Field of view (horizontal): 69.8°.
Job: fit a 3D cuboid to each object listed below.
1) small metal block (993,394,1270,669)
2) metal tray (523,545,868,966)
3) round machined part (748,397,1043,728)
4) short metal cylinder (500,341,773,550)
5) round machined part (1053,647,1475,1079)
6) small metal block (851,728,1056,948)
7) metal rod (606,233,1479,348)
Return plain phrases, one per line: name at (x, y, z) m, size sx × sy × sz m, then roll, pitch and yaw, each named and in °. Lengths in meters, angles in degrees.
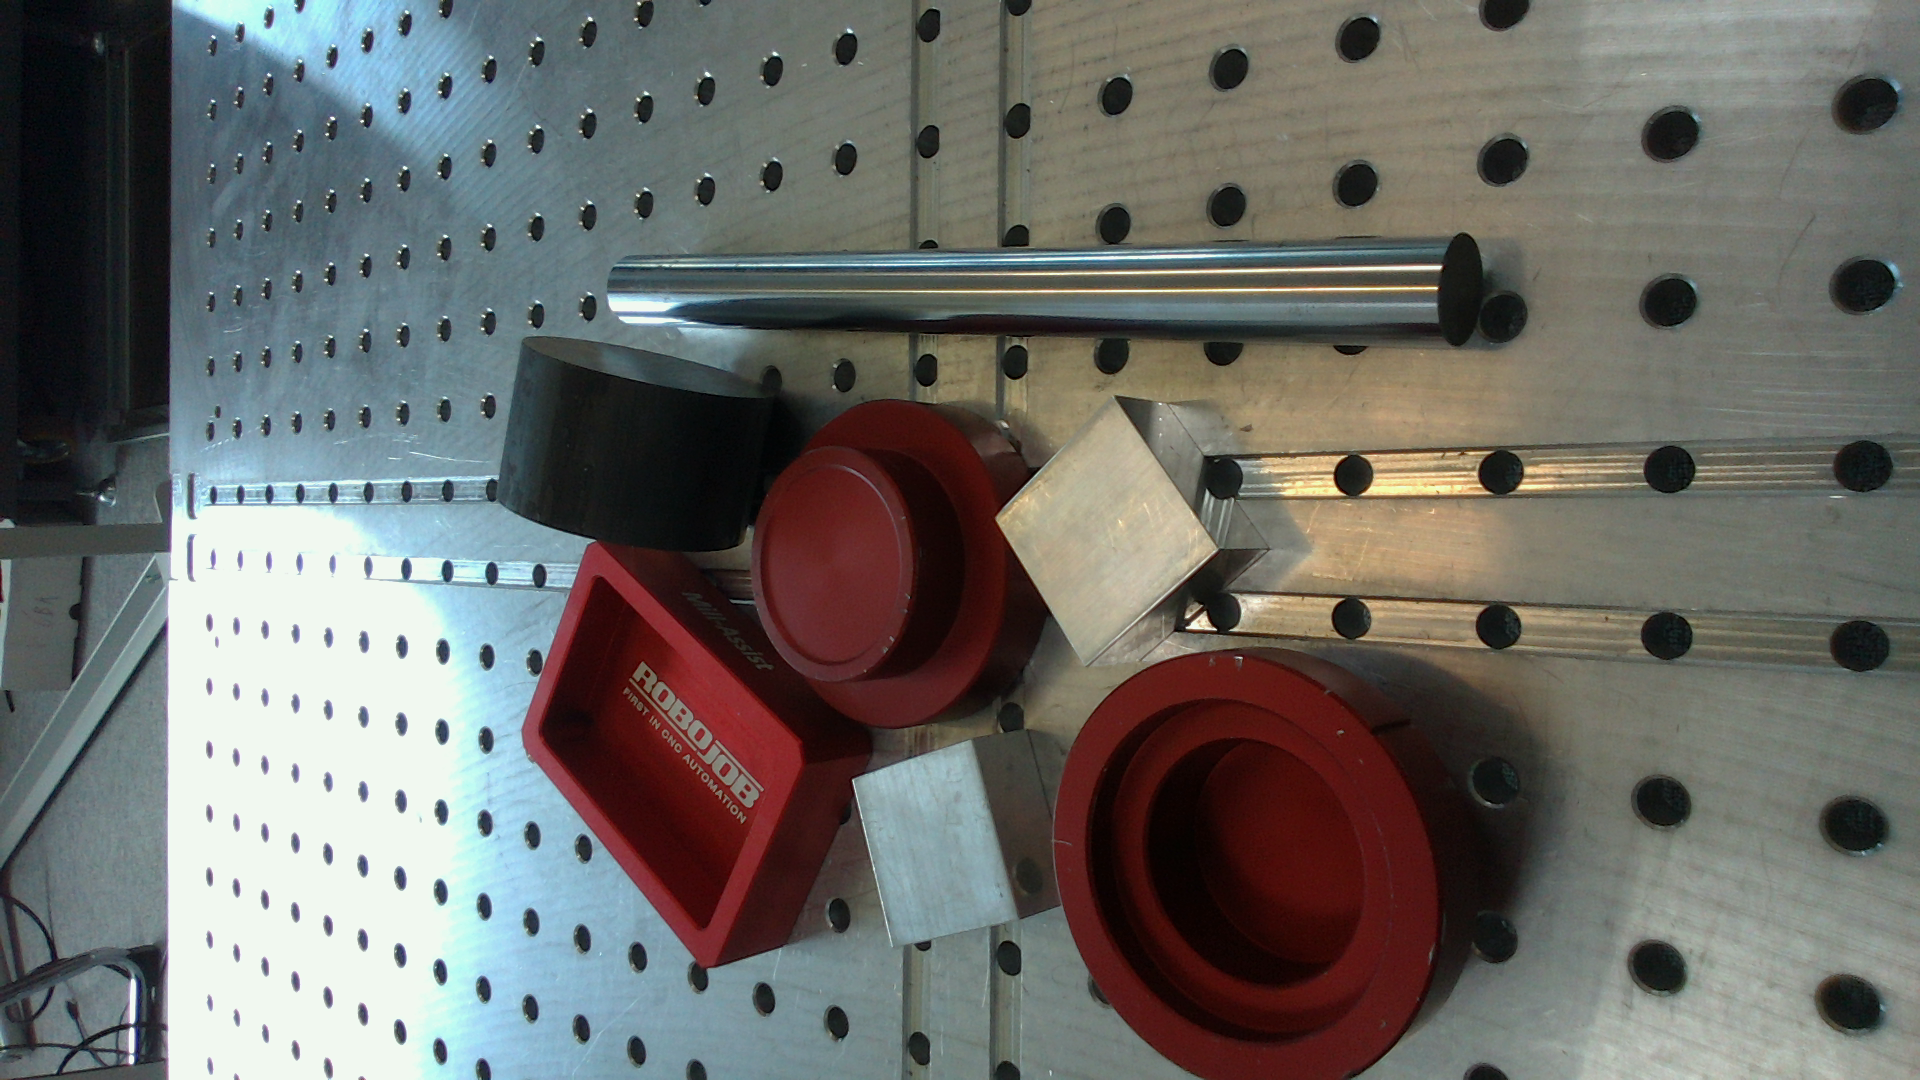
small metal block at (0.044, -0.002, 0.362) m, size 0.050 × 0.025 × 0.050 m, roll -46°, pitch 62°, yaw 30°
metal tray at (-0.096, 0.069, 0.475) m, size 0.130 × 0.030 × 0.090 m, roll 38°, pitch 114°, yaw 34°
round machined part at (-0.025, 0.006, 0.407) m, size 0.098 × 0.042 × 0.098 m, roll -3°, pitch 85°, yaw 40°
short metal cylinder at (-0.106, -0.033, 0.451) m, size 0.080 × 0.080 × 0.050 m, roll 23°, pitch 104°, yaw 38°
round machined part at (0.073, 0.074, 0.325) m, size 0.098 × 0.042 × 0.098 m, roll 0°, pitch 90°, yaw 40°
small metal block at (0.000, 0.086, 0.398) m, size 0.050 × 0.025 × 0.050 m, roll -25°, pitch 75°, yaw 37°
metal rod at (-0.003, -0.072, 0.400) m, size 0.299 × 0.025 × 0.025 m, roll 9°, pitch 96°, yaw 40°
